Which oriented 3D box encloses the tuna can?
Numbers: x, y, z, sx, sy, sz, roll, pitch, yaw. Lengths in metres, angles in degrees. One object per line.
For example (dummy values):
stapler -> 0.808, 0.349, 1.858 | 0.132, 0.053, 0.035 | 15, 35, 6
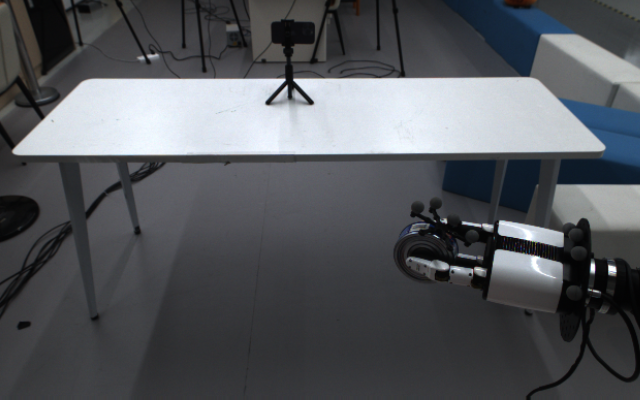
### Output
tuna can -> 0.149, 0.071, 0.676 | 0.085, 0.085, 0.034 | 15, 31, 18
